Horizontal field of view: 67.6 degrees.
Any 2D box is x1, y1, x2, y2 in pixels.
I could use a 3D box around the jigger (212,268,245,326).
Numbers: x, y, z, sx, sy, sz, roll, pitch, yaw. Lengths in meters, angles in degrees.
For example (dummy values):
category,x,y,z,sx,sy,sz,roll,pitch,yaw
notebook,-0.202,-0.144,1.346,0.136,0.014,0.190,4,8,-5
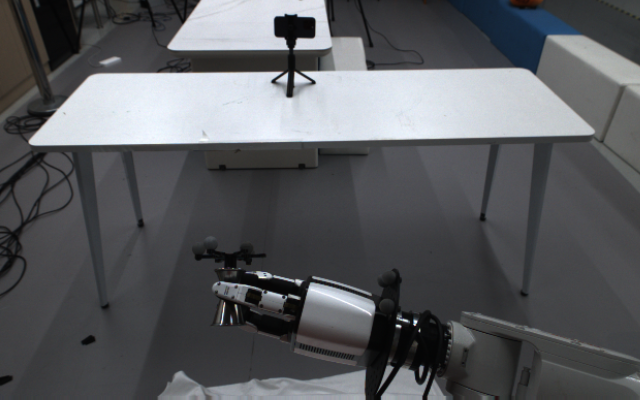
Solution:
category,x,y,z,sx,sy,sz,roll,pitch,yaw
jigger,-0.110,0.119,0.594,0.043,0.043,0.071,0,75,-3
